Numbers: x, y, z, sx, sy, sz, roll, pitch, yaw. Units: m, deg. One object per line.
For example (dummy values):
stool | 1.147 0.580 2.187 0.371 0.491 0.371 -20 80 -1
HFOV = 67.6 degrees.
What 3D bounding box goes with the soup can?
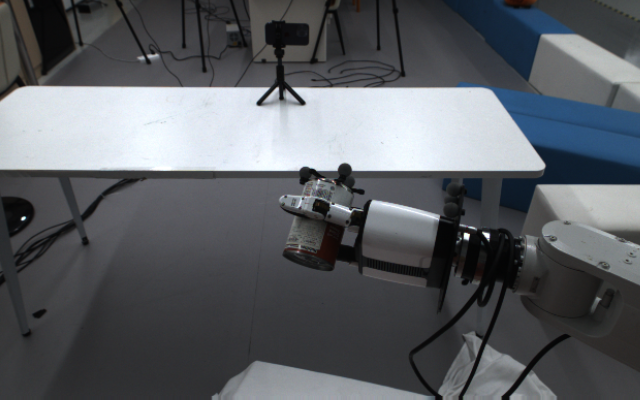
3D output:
soup can | -0.001 0.030 0.615 0.067 0.067 0.101 12 70 14
